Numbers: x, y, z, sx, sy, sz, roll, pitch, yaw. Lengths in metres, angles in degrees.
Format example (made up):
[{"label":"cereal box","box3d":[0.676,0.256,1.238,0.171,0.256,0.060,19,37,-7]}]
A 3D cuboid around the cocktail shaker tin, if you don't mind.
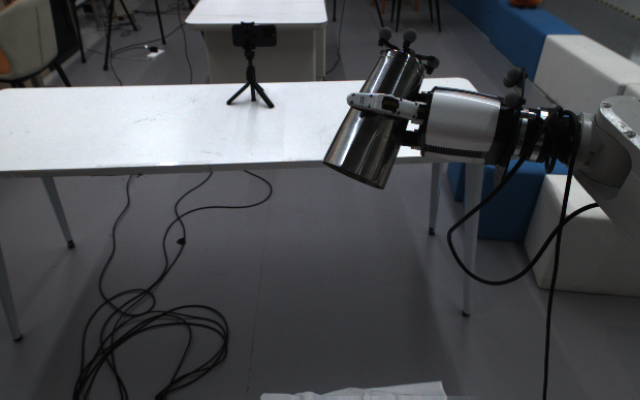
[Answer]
[{"label":"cocktail shaker tin","box3d":[0.081,-0.113,0.653,0.093,0.170,0.093,23,0,0]}]
